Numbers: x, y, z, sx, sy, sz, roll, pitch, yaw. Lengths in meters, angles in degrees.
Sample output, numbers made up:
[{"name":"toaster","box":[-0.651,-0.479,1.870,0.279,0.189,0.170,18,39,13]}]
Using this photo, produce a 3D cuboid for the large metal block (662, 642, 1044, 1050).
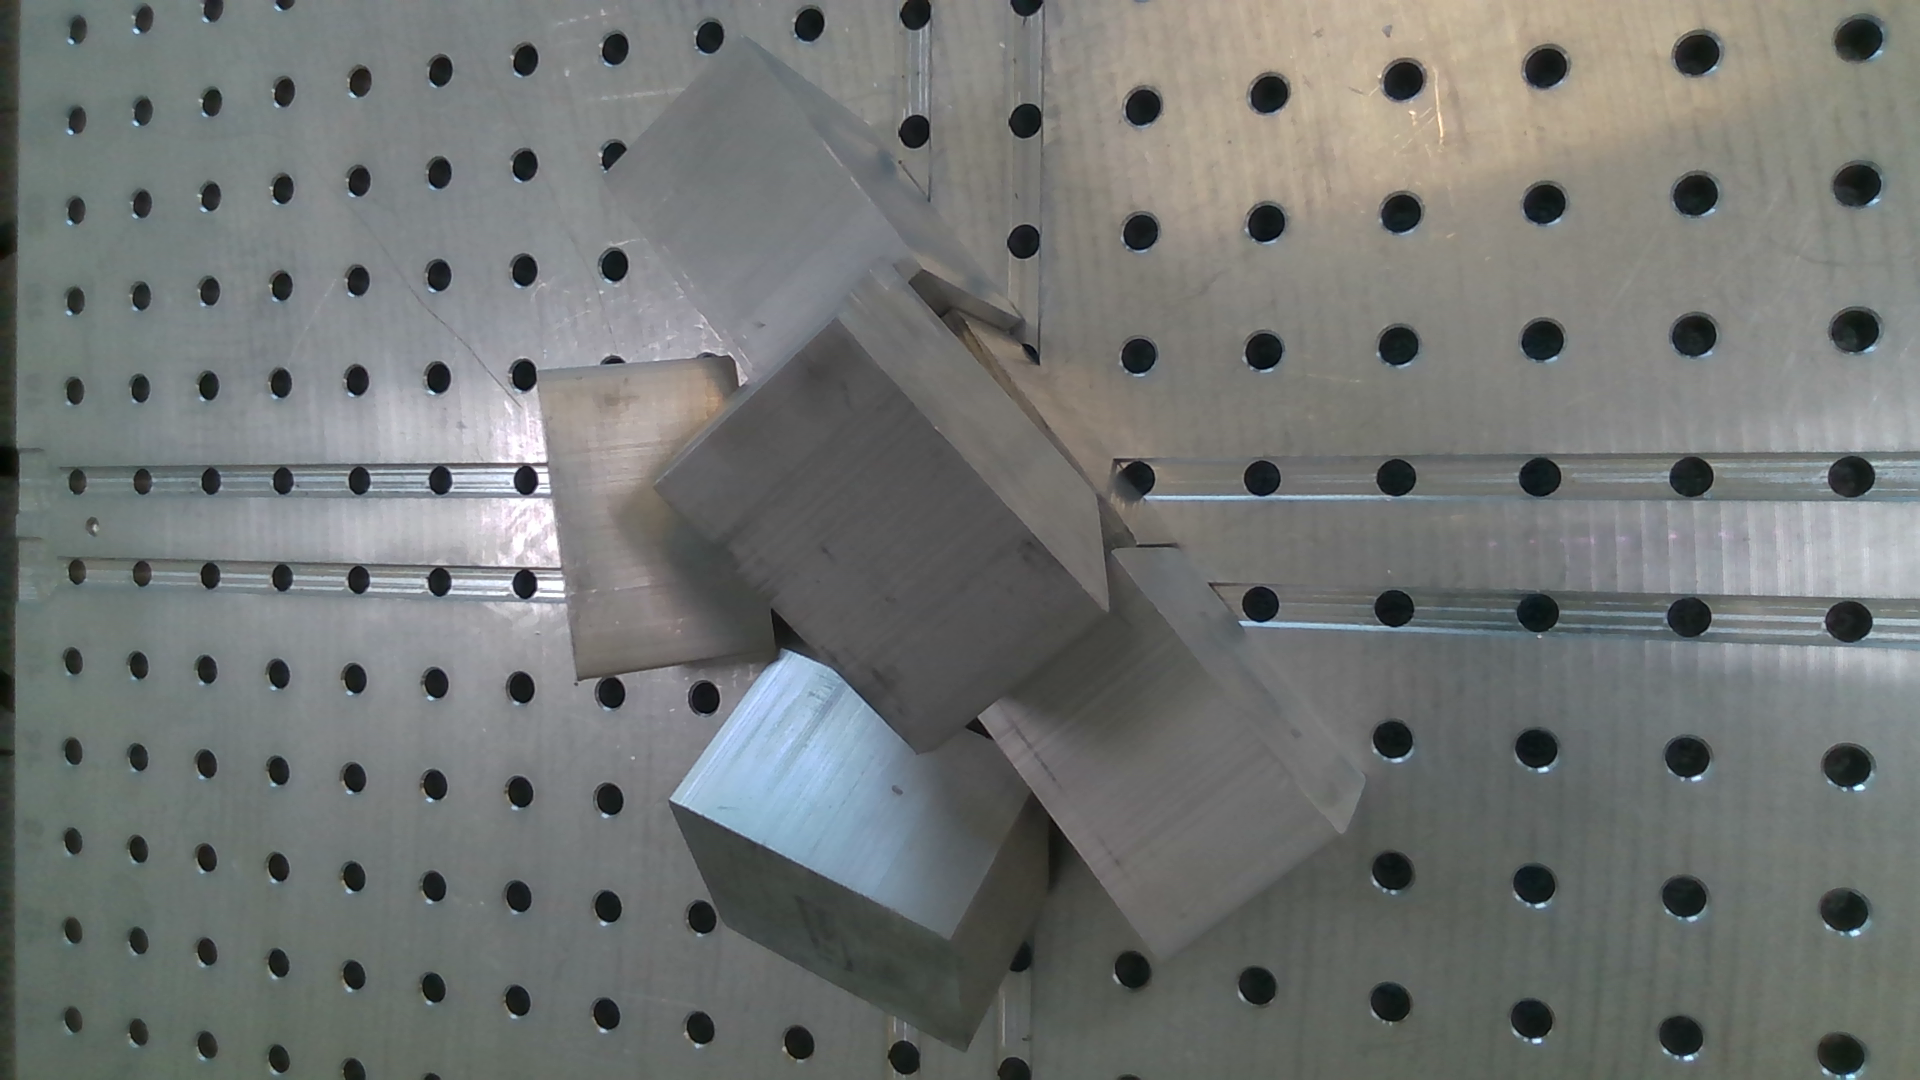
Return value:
[{"name":"large metal block","box":[-0.024,0.083,0.369,0.080,0.080,0.050,21,56,19]}]

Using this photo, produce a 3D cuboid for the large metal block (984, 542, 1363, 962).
[{"name":"large metal block","box":[0.053,0.048,0.348,0.050,0.080,0.080,-41,77,16]}]

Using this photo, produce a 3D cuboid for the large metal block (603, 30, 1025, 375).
[{"name":"large metal block","box":[-0.037,-0.080,0.379,0.050,0.080,0.080,-40,77,16]}]

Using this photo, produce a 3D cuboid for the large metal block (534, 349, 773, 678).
[{"name":"large metal block","box":[-0.089,-0.004,0.392,0.050,0.080,0.080,-7,87,-17]}]

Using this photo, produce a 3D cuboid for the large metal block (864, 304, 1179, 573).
[{"name":"large metal block","box":[0.001,-0.006,0.384,0.080,0.050,0.080,-41,77,16]}]

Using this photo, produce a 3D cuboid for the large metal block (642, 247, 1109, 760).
[{"name":"large metal block","box":[-0.014,-0.012,0.305,0.050,0.080,0.080,-39,103,16]}]
